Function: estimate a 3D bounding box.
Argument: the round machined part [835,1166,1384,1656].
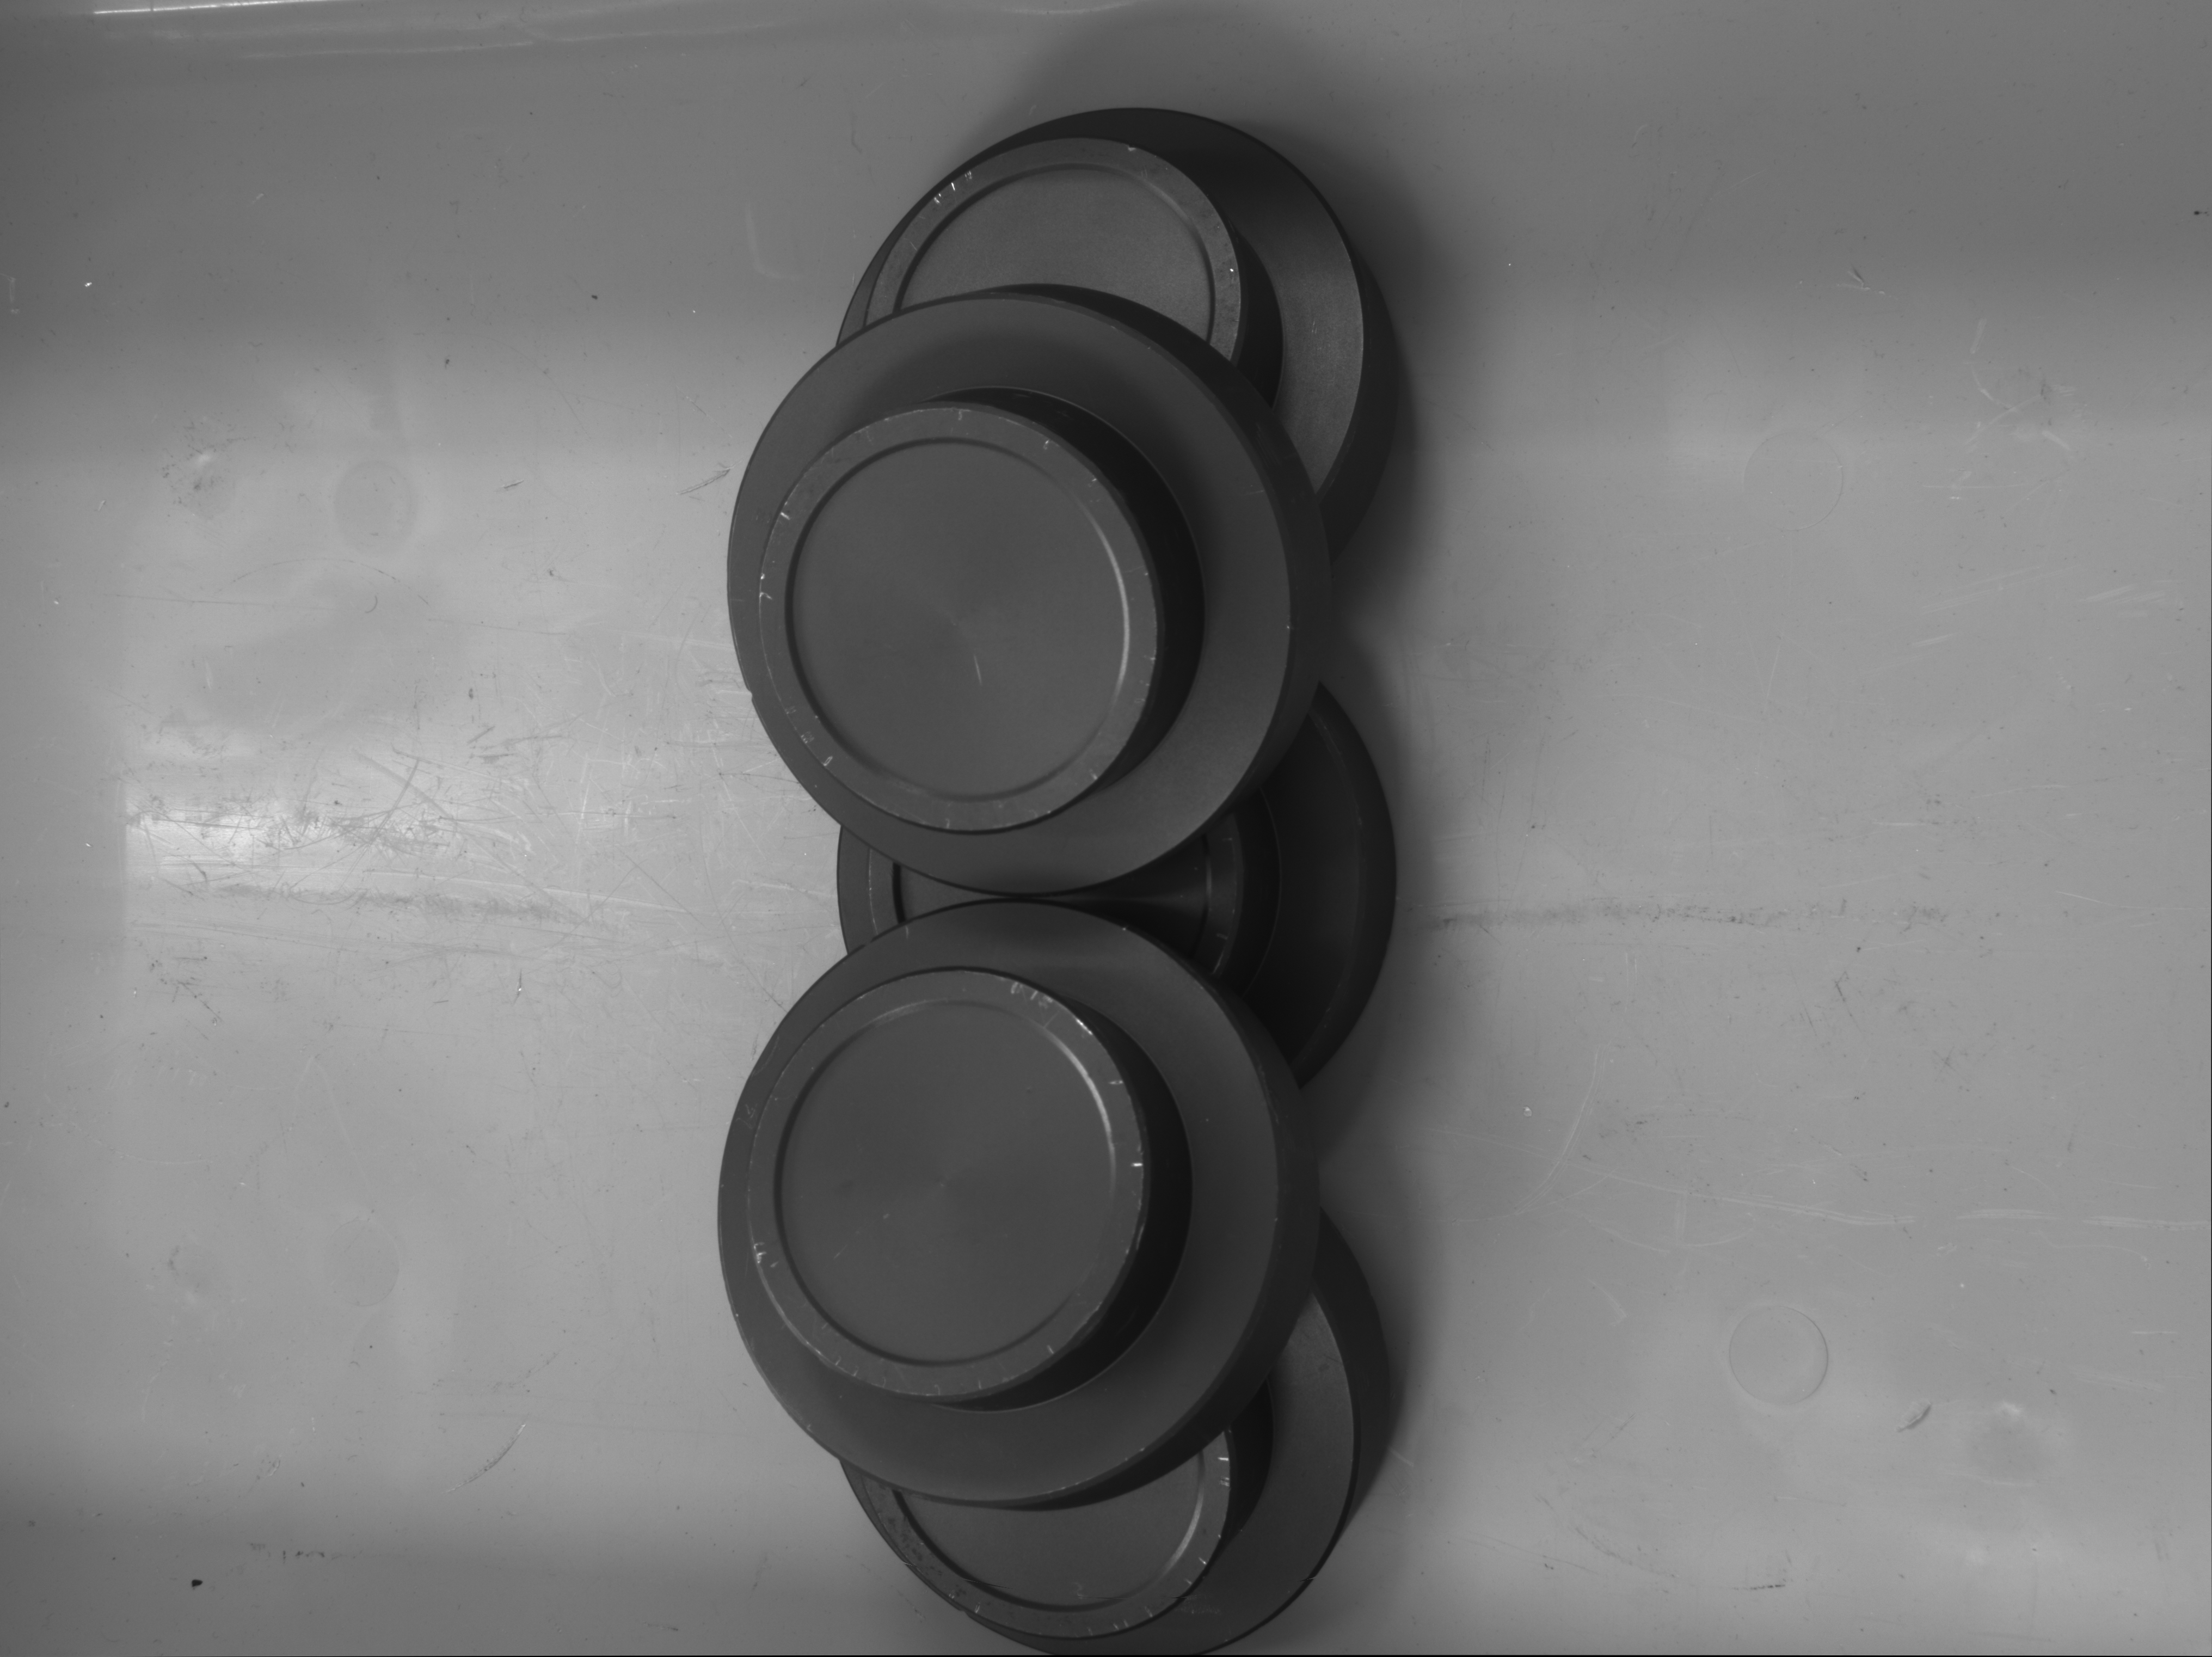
[{"bbox_3d":[-0.005,0.100,0.623,0.098,0.042,0.098,5,107,19],"label":"round machined part"}]

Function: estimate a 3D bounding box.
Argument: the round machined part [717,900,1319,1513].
[{"bbox_3d":[-0.018,0.059,0.588,0.098,0.042,0.098,-4,77,19],"label":"round machined part"}]

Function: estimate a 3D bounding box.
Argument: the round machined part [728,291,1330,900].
[{"bbox_3d":[-0.017,-0.036,0.587,0.098,0.042,0.098,5,104,19],"label":"round machined part"}]

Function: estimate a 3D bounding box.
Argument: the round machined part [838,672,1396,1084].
[{"bbox_3d":[-0.002,0.008,0.637,0.098,0.042,0.098,0,89,20],"label":"round machined part"}]

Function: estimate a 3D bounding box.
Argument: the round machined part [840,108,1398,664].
[{"bbox_3d":[-0.003,-0.079,0.626,0.098,0.042,0.098,-6,72,18],"label":"round machined part"}]
